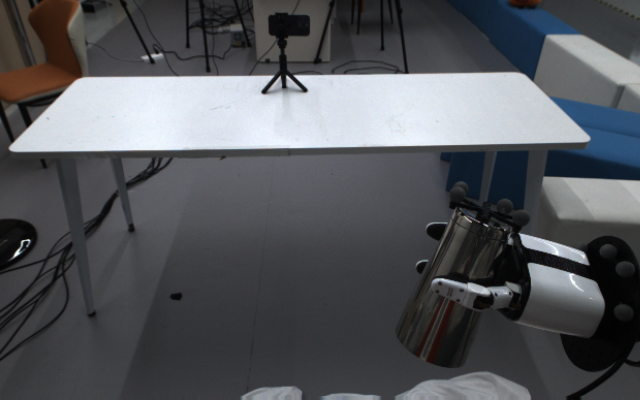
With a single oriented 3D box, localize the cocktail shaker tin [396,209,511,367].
[{"bbox_3d":[0.161,0.097,0.570,0.093,0.170,0.093,15,17,-5],"label":"cocktail shaker tin"}]
